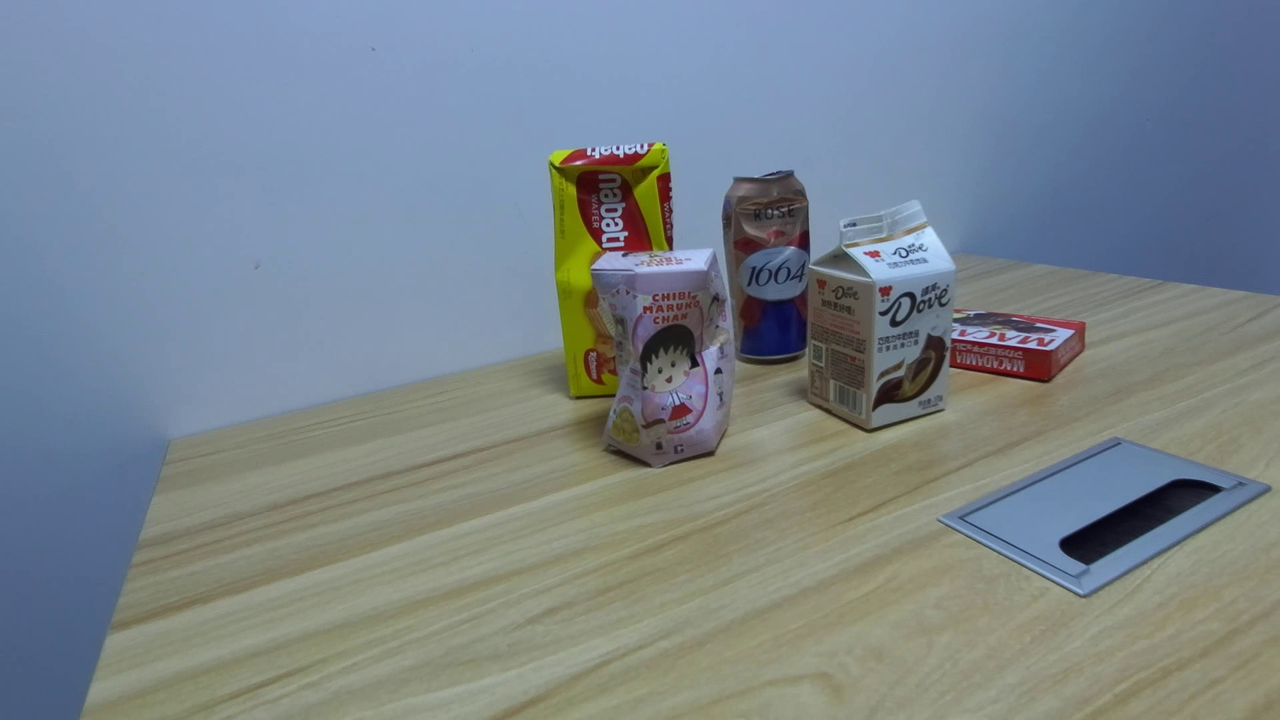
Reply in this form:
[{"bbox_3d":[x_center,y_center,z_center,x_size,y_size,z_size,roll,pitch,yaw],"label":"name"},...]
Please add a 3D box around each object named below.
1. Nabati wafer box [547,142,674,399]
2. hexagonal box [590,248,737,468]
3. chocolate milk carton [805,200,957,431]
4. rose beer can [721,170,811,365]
[{"bbox_3d":[-0.018,-0.070,0.583,0.096,0.203,0.042,-2,17,4],"label":"Nabati wafer box"},{"bbox_3d":[0.011,-0.003,0.482,0.093,0.134,0.089,10,23,38],"label":"hexagonal box"},{"bbox_3d":[0.172,-0.035,0.507,0.075,0.148,0.073,-12,20,-22],"label":"chocolate milk carton"},{"bbox_3d":[0.116,-0.083,0.636,0.076,0.167,0.065,-6,17,6],"label":"rose beer can"}]
